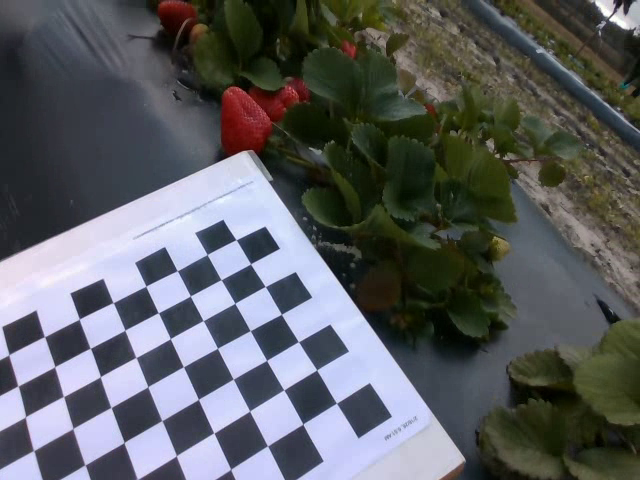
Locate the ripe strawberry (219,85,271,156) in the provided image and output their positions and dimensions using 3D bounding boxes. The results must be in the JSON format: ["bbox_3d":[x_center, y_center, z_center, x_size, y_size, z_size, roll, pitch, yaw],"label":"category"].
[{"bbox_3d":[-0.072,-0.108,0.521,0.057,0.056,0.065,5,-35,28],"label":"ripe strawberry"}]

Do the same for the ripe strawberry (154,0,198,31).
[{"bbox_3d":[-0.157,-0.246,0.637,0.043,0.041,0.051,32,17,28],"label":"ripe strawberry"}]
